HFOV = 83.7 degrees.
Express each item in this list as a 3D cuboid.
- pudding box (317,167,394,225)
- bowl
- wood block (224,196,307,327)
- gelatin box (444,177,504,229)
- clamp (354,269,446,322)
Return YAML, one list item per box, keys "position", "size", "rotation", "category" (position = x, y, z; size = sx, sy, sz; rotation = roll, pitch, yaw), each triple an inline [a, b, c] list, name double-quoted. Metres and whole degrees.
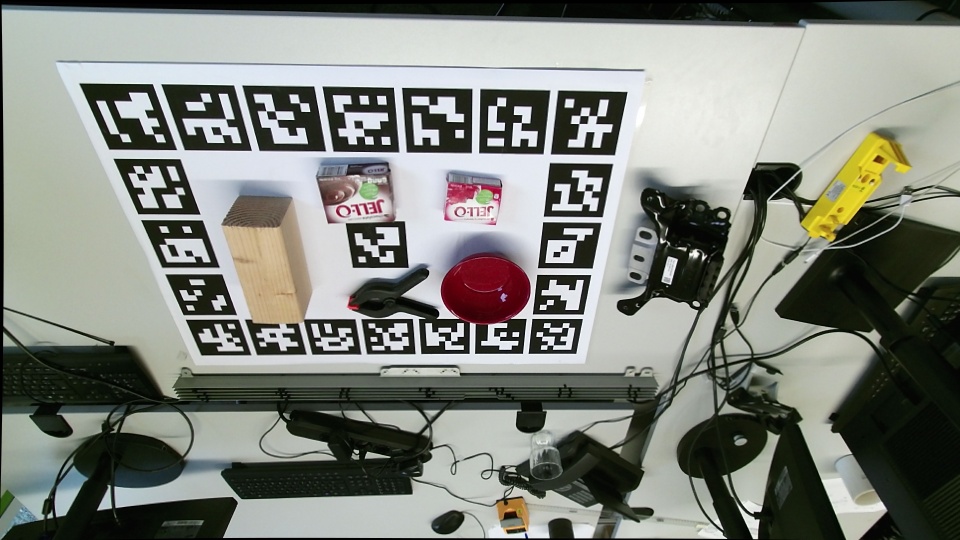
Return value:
- position: [-0.198, -0.119, 0.864]
  size: [0.114, 0.038, 0.090]
  rotation: [-1, 122, -4]
  category: "pudding box"
- position: [0.008, 0.032, 0.980]
  size: [0.162, 0.055, 0.161]
  rotation: [0, 124, -1]
  category: "bowl"
- position: [-0.360, -0.011, 0.905]
  size: [0.090, 0.090, 0.206]
  rotation: [3, 126, -3]
  category: "wood block"
- position: [-0.011, -0.109, 0.882]
  size: [0.090, 0.030, 0.073]
  rotation: [7, 124, -7]
  category: "gelatin box"
- position: [-0.156, 0.058, 1.007]
  size: [0.166, 0.036, 0.122]
  rotation: [-7, 126, 6]
  category: "clamp"
